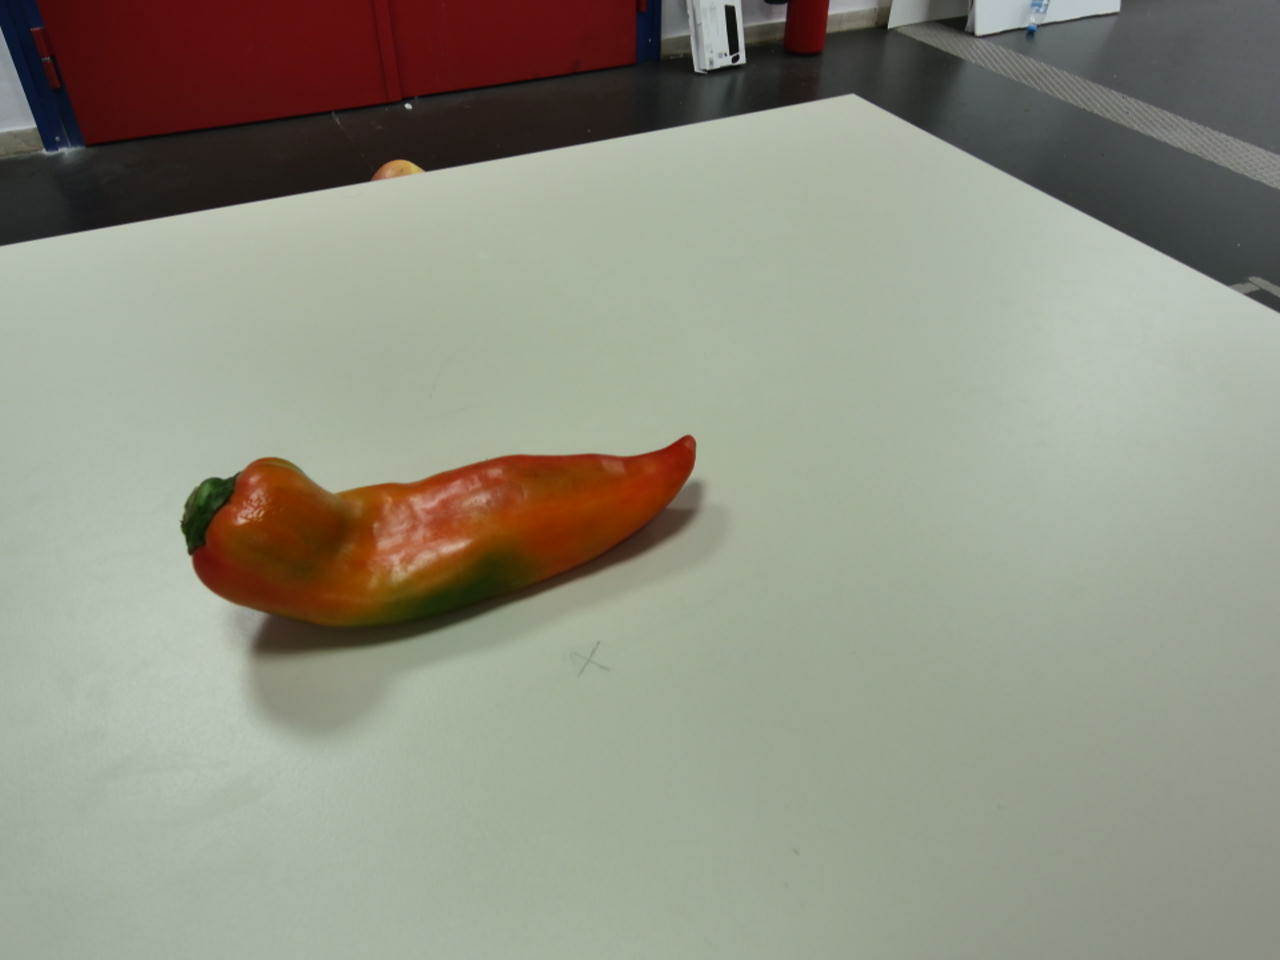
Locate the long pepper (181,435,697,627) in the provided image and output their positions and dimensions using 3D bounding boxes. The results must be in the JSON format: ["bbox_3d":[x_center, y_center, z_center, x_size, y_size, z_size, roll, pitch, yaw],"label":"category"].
[{"bbox_3d":[-0.066,0.007,0.383,0.199,0.065,0.066,-14,40,-17],"label":"long pepper"}]
